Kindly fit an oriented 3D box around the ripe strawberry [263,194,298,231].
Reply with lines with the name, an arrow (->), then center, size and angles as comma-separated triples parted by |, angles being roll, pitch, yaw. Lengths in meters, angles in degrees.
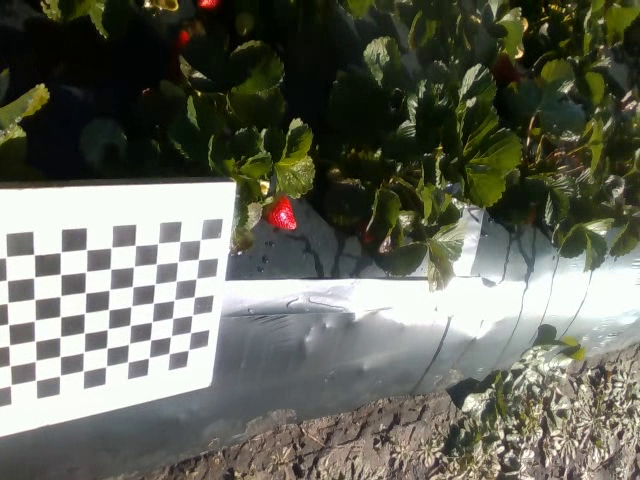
ripe strawberry -> -0.049, -0.031, 0.819 | 0.029, 0.048, 0.055 | 39, -9, 49
